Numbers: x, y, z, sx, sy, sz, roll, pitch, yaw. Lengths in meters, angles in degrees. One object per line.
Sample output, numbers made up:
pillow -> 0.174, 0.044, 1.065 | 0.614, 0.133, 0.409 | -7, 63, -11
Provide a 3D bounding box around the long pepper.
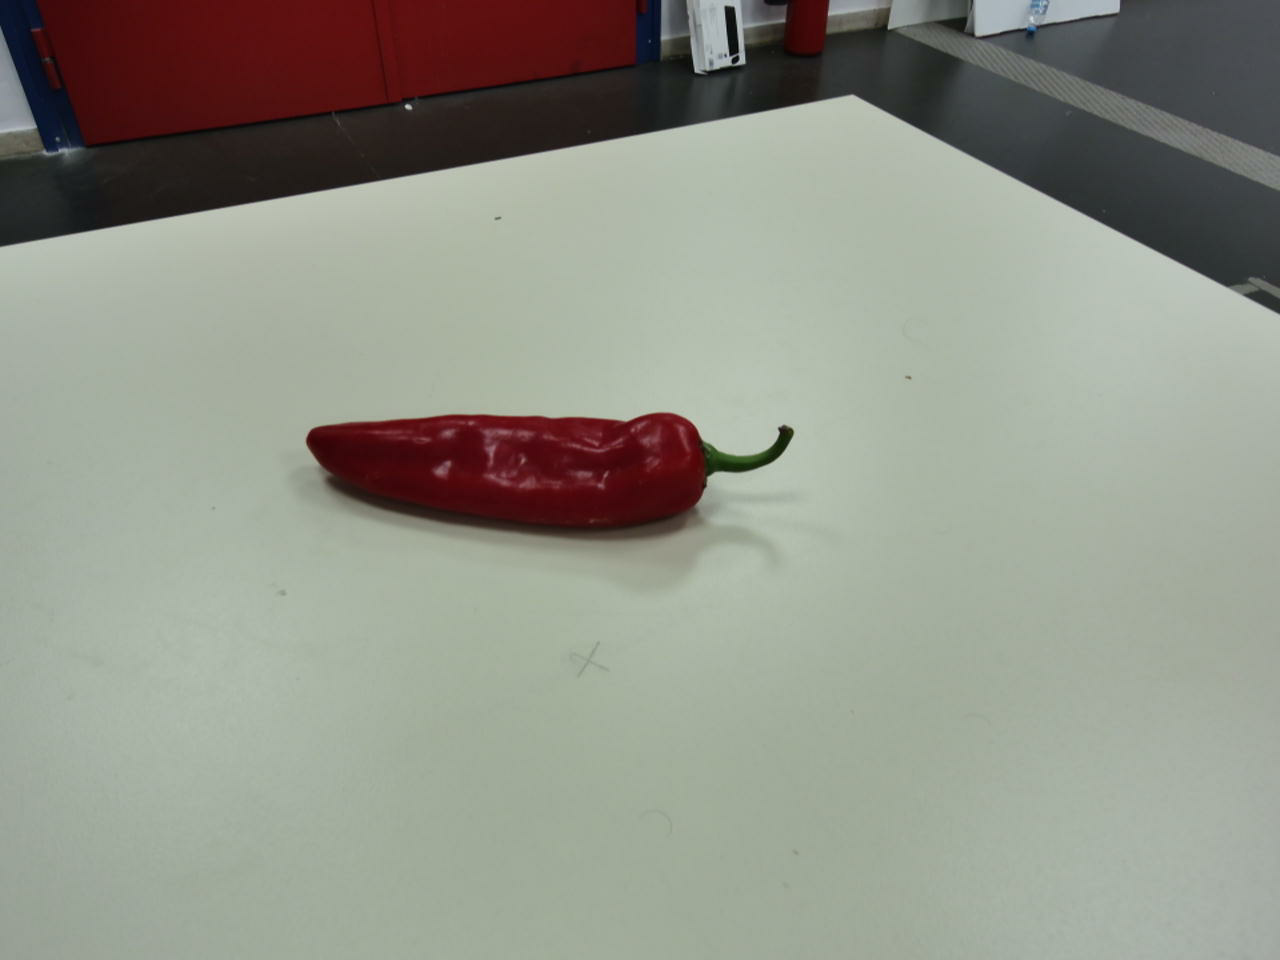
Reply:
long pepper -> -0.044, -0.008, 0.430 | 0.211, 0.043, 0.050 | 4, 38, 4
